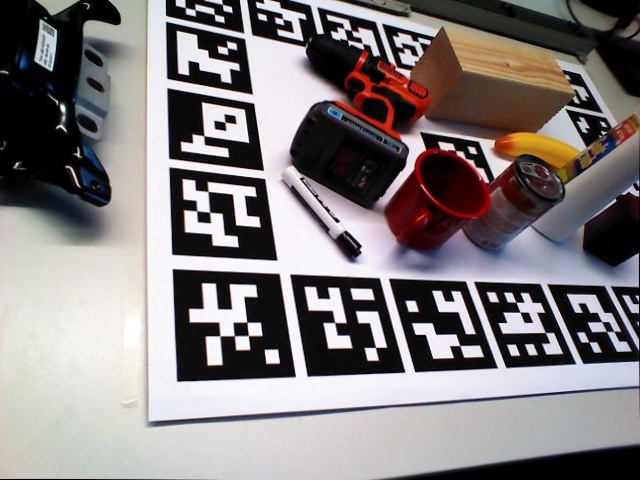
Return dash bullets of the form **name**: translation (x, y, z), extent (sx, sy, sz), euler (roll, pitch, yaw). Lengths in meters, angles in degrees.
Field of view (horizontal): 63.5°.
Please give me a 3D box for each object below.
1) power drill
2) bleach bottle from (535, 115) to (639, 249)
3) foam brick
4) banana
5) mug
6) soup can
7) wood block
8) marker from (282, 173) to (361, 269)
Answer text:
- **power drill**: translation (0.046, -0.150, 0.627), extent (0.184, 0.058, 0.185), euler (29, 50, -9)
- **bleach bottle**: translation (0.359, -0.094, 0.604), extent (0.068, 0.252, 0.102), euler (28, 50, -5)
- **foam brick**: translation (0.406, -0.005, 0.680), extent (0.053, 0.078, 0.051), euler (30, 49, -1)
- **banana**: translation (0.336, -0.126, 0.748), extent (0.197, 0.039, 0.074), euler (18, 66, -16)
- **mug**: translation (0.121, -0.033, 0.560), extent (0.093, 0.082, 0.116), euler (40, 54, 1)
- **soup can**: translation (0.225, -0.039, 0.592), extent (0.068, 0.103, 0.067), euler (14, 50, -17)
- **wood block**: translation (0.255, -0.217, 0.744), extent (0.206, 0.091, 0.089), euler (2, 59, -24)
- **marker**: translation (0.003, -0.019, 0.540), extent (0.019, 0.020, 0.121), euler (-29, 75, -34)
